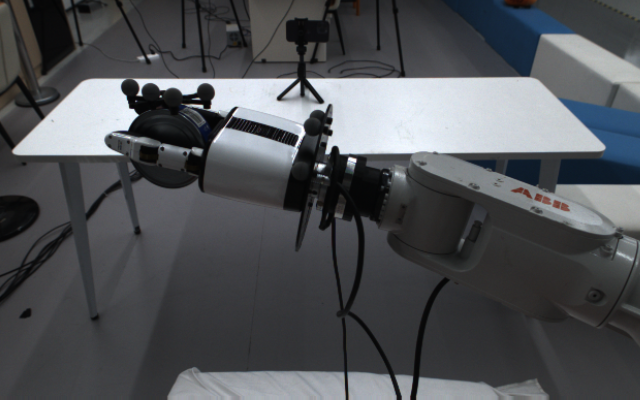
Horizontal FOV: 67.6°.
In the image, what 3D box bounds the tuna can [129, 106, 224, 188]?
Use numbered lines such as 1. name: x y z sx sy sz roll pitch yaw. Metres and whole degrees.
1. tuna can: -0.154 -0.057 0.513 0.085 0.085 0.034 6 22 5
